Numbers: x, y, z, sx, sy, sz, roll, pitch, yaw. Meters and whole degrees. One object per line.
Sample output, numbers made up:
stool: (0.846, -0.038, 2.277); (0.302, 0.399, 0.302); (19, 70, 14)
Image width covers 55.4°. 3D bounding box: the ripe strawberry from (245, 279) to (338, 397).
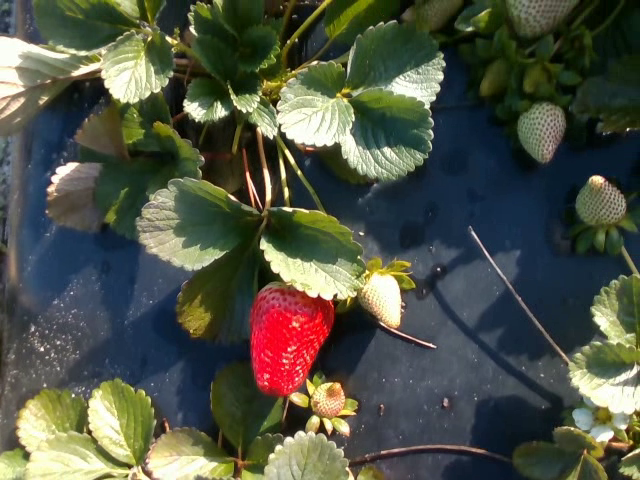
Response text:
ripe strawberry: (-0.021, 0.058, 0.339); (0.055, 0.072, 0.057); (12, -19, -31)
